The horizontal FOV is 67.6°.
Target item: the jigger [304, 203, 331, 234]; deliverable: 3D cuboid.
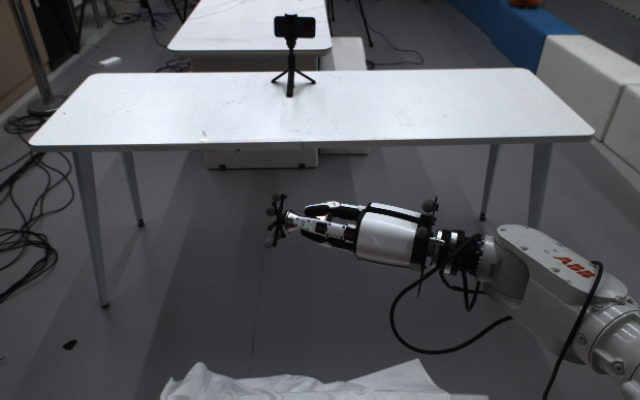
[{"bbox_3d":[-0.013,0.034,0.786,0.071,0.043,0.043,5,34,14],"label":"jigger"}]
